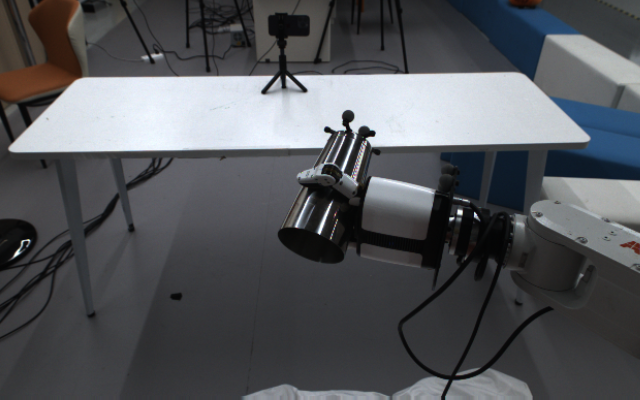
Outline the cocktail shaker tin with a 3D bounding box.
[{"bbox_3d":[0.014,-0.010,0.658,0.093,0.093,0.170,14,61,17],"label":"cocktail shaker tin"}]
